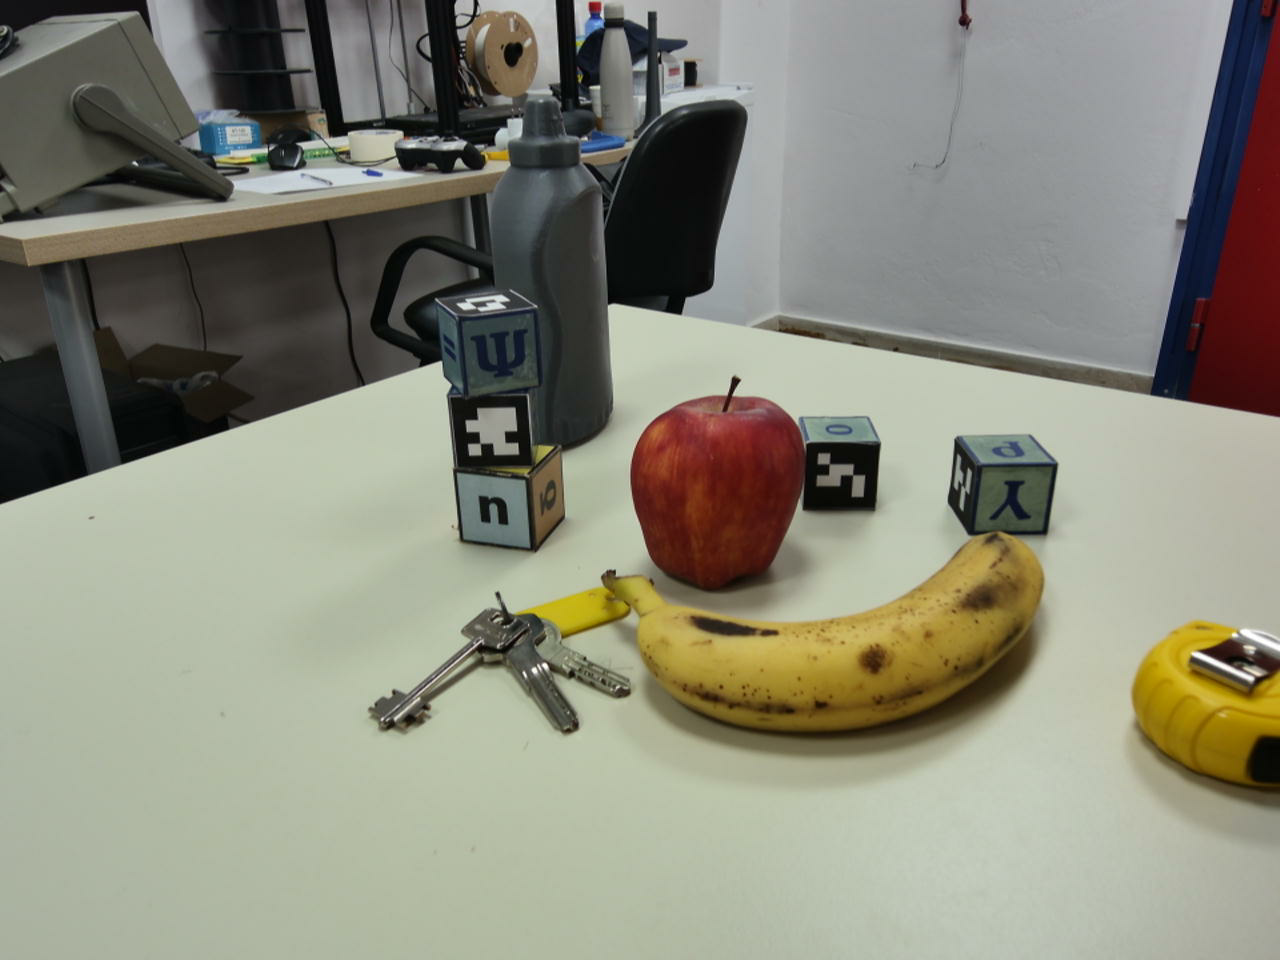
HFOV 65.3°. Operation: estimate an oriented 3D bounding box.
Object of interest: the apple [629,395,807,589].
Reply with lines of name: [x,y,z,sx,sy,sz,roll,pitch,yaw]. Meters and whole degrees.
apple: [0.036,-0.003,0.449,0.083,0.090,0.083,1,23,-1]
